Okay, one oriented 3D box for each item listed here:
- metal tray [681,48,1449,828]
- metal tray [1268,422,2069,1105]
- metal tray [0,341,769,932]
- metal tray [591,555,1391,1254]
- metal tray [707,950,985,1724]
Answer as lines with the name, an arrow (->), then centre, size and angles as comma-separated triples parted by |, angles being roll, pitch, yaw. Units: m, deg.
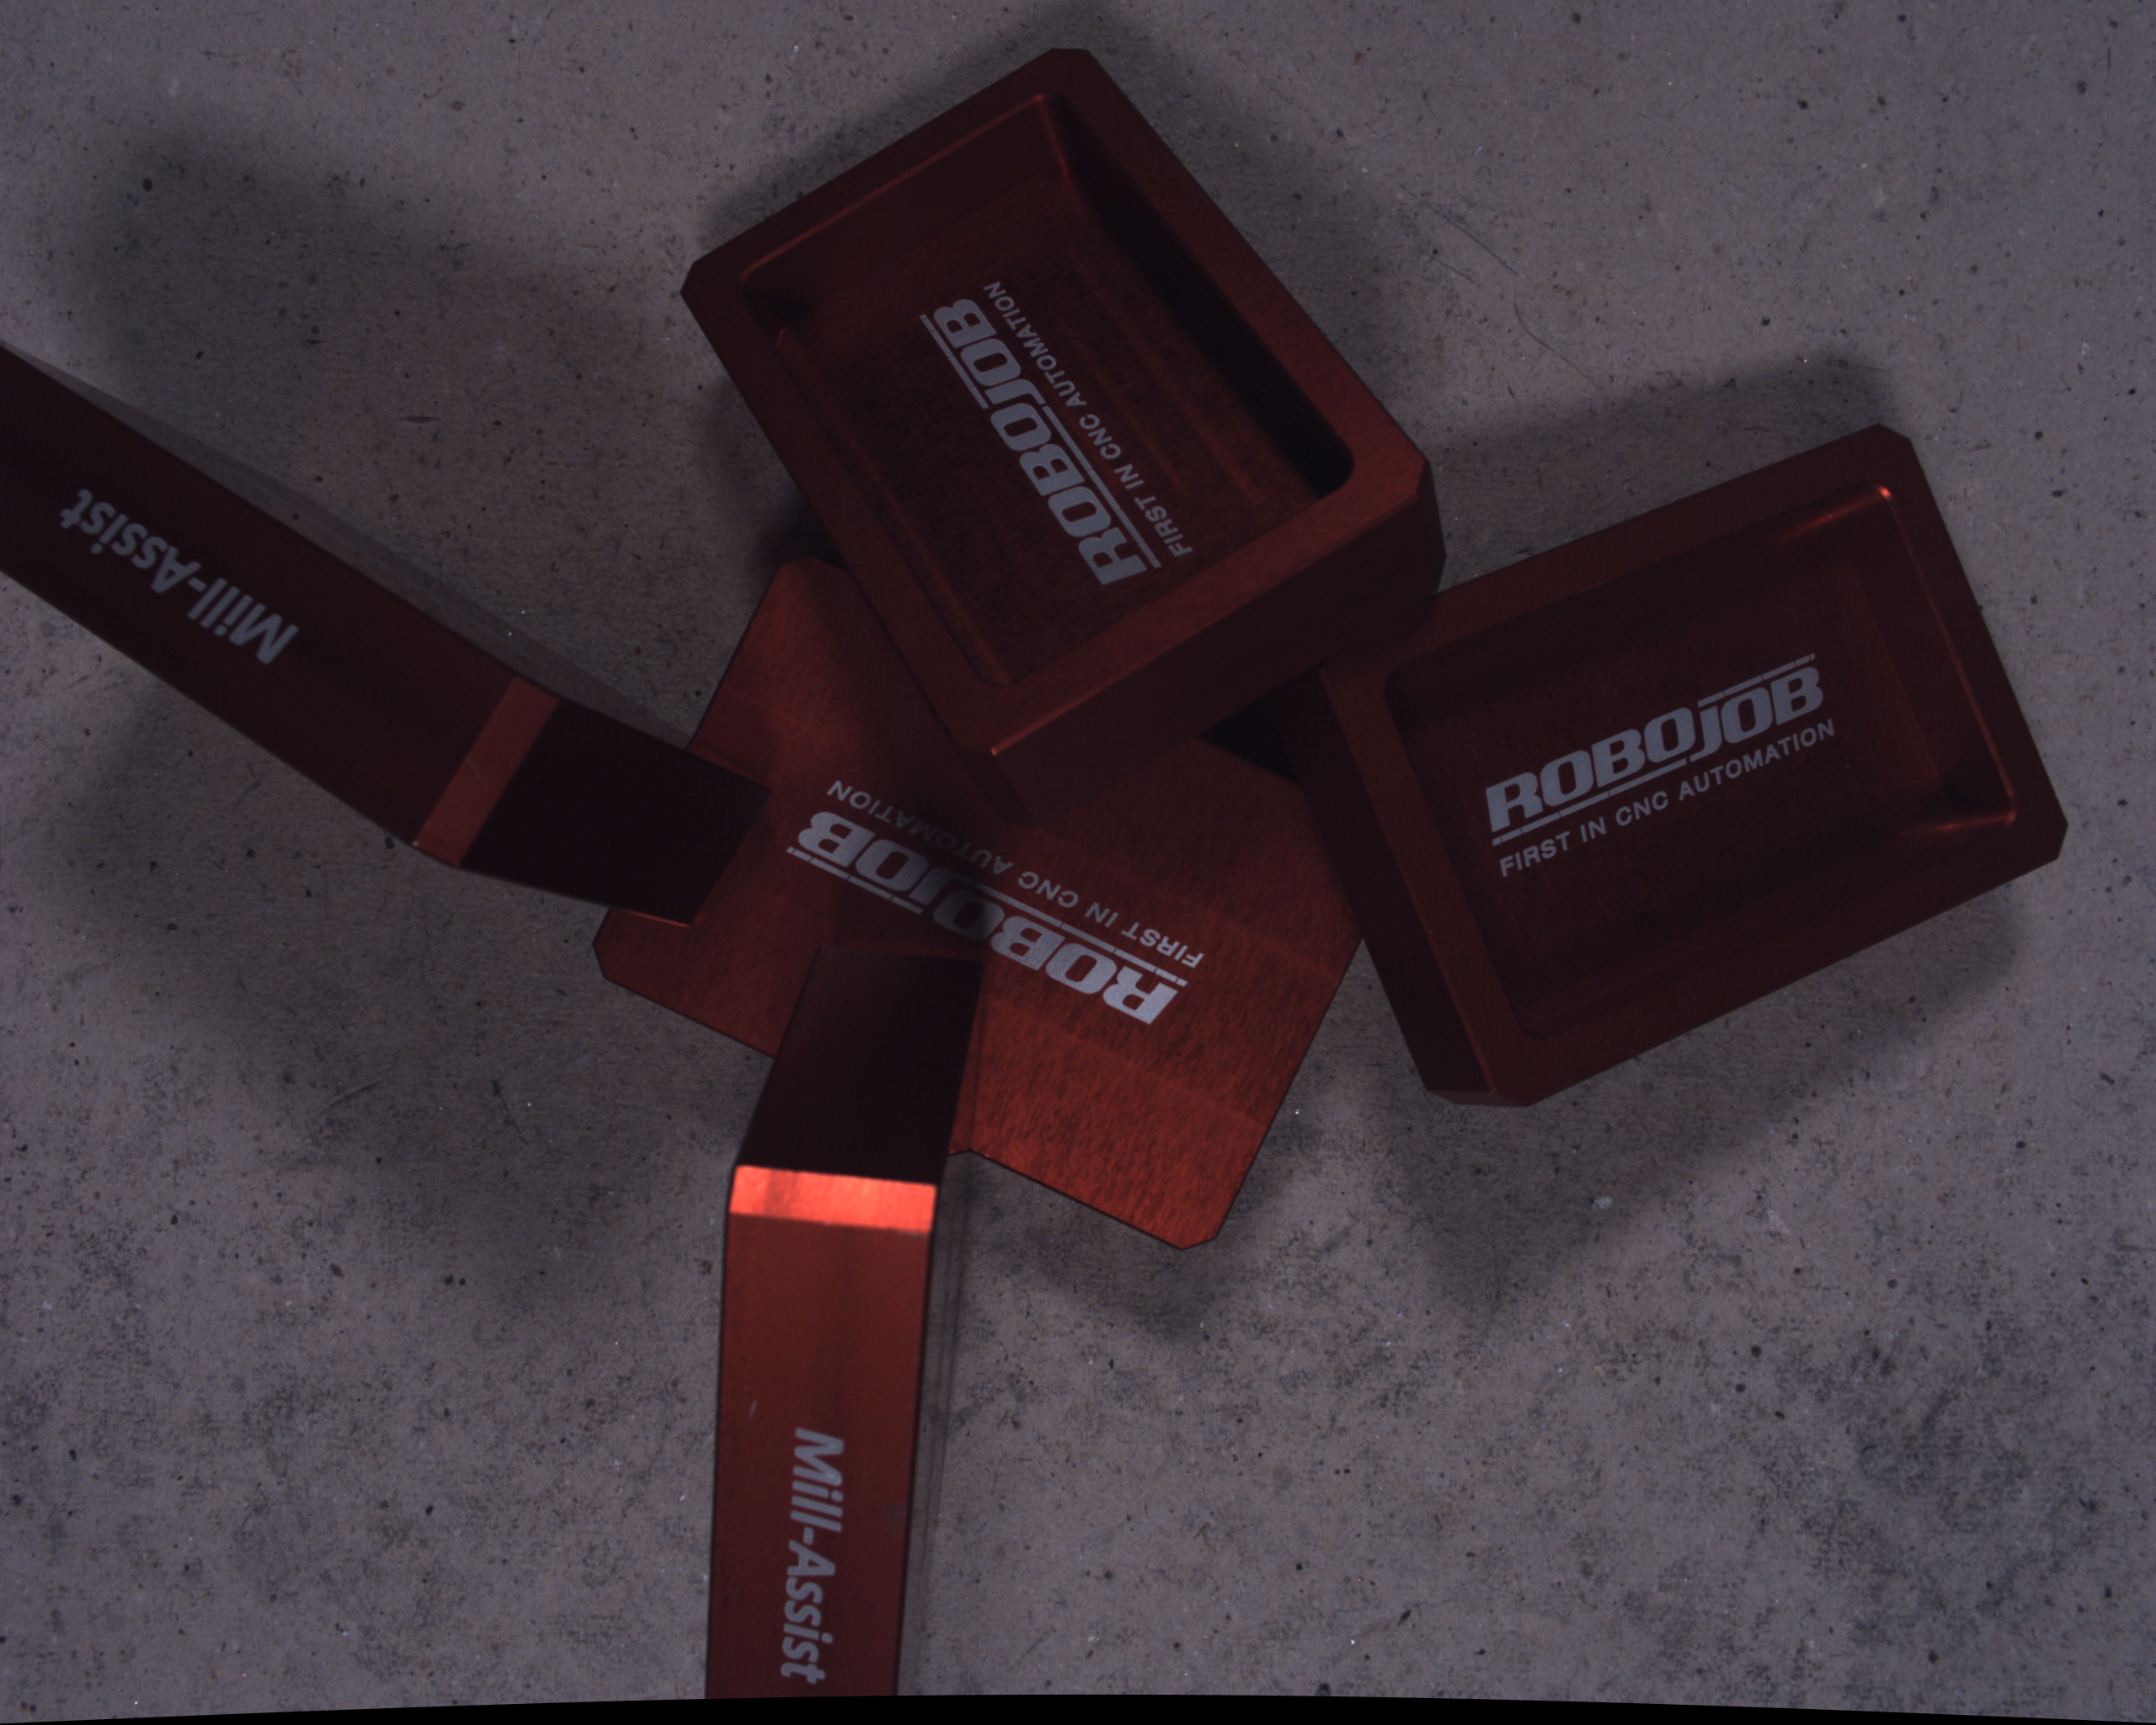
metal tray -> -0.005, -0.081, 0.379 | 0.090, 0.030, 0.130 | -31, 61, -1
metal tray -> 0.112, -0.019, 0.394 | 0.131, 0.030, 0.090 | -22, 90, -15
metal tray -> -0.127, -0.038, 0.362 | 0.130, 0.090, 0.030 | 31, 90, 16
metal tray -> -0.016, 0.008, 0.408 | 0.131, 0.030, 0.090 | 26, 90, -1
metal tray -> -0.039, 0.091, 0.359 | 0.030, 0.090, 0.129 | 6, 111, 0
